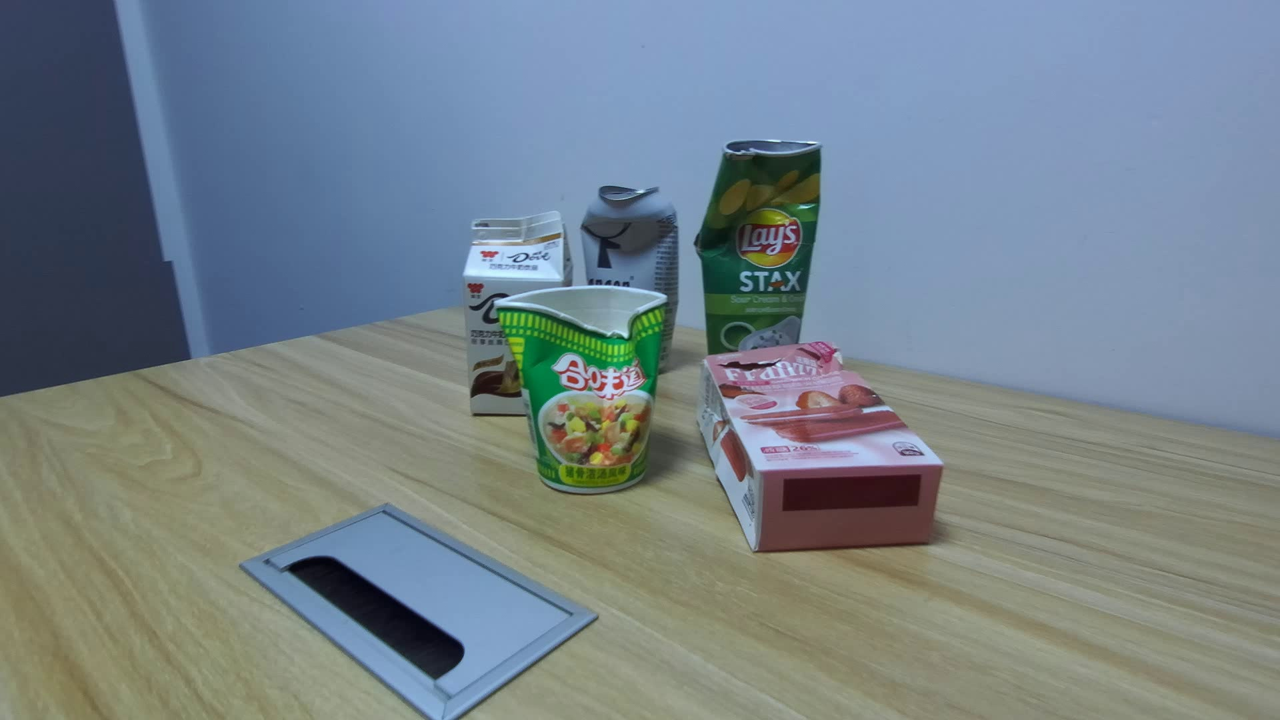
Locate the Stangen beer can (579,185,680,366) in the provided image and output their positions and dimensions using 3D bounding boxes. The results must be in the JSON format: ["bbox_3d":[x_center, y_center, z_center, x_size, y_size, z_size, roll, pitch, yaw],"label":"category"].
[{"bbox_3d":[-0.008,-0.070,0.627,0.077,0.162,0.065,-5,18,-16],"label":"Stangen beer can"}]

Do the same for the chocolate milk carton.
[{"bbox_3d":[-0.089,-0.038,0.544,0.075,0.148,0.074,1,17,2],"label":"chocolate milk carton"}]

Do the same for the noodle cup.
[{"bbox_3d":[-0.028,0.015,0.431,0.082,0.122,0.075,1,8,34],"label":"noodle cup"}]

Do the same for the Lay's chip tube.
[{"bbox_3d":[0.093,-0.070,0.560,0.069,0.201,0.077,15,25,39],"label":"Lay's chip tube"}]
